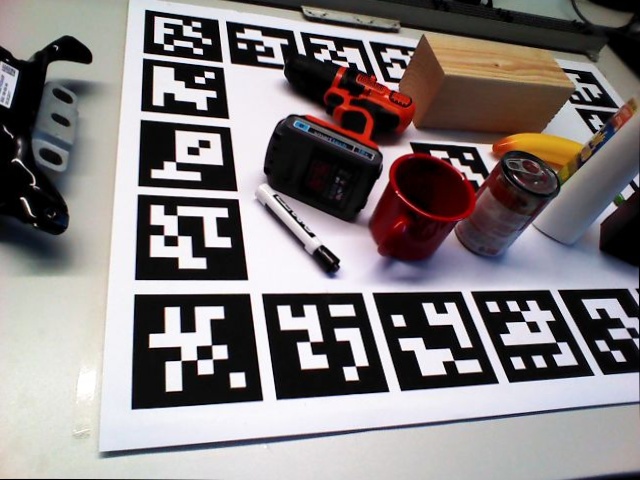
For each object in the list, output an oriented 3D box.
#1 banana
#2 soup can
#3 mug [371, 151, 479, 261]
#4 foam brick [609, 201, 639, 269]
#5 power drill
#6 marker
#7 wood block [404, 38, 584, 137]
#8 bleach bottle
[{"bbox_3d":[0.322,-0.120,0.702,0.197,0.039,0.074,14,64,-9],"label":"banana"},{"bbox_3d":[0.202,-0.036,0.552,0.068,0.102,0.067,10,46,-11],"label":"soup can"},{"bbox_3d":[0.096,-0.025,0.528,0.093,0.082,0.116,36,54,9],"label":"mug"},{"bbox_3d":[0.394,-0.010,0.618,0.053,0.078,0.051,26,48,6],"label":"foam brick"},{"bbox_3d":[0.020,-0.130,0.612,0.185,0.058,0.185,25,48,-2],"label":"power drill"},{"bbox_3d":[-0.023,-0.003,0.519,0.019,0.020,0.121,-29,67,-31],"label":"marker"},{"bbox_3d":[0.235,-0.205,0.713,0.206,0.091,0.089,0,54,-18],"label":"wood block"},{"bbox_3d":[0.333,-0.100,0.554,0.068,0.252,0.102,23,48,2],"label":"bleach bottle"}]
